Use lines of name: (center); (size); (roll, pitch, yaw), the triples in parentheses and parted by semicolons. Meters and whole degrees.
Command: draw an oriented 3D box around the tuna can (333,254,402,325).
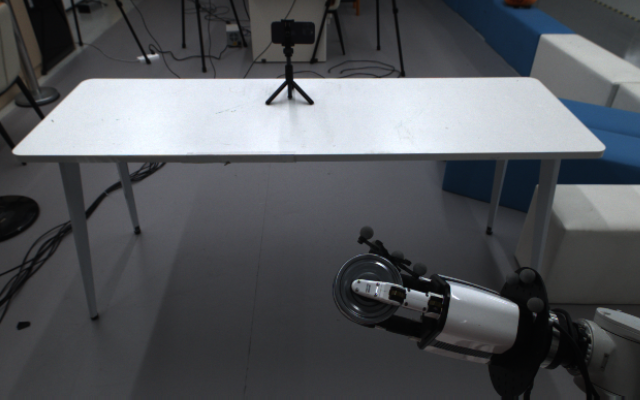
tuna can: (0.063, 0.115, 0.593); (0.085, 0.034, 0.085); (0, 74, 0)
